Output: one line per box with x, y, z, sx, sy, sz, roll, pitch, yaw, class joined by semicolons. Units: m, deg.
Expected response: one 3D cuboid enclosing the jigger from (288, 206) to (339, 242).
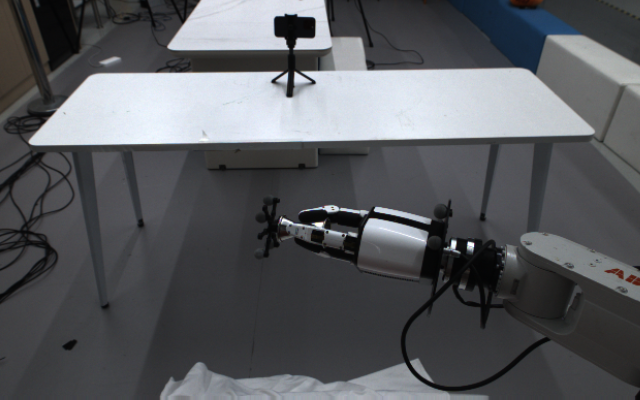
-0.016;0.041;0.693;0.071;0.043;0.043;5;34;15;jigger
